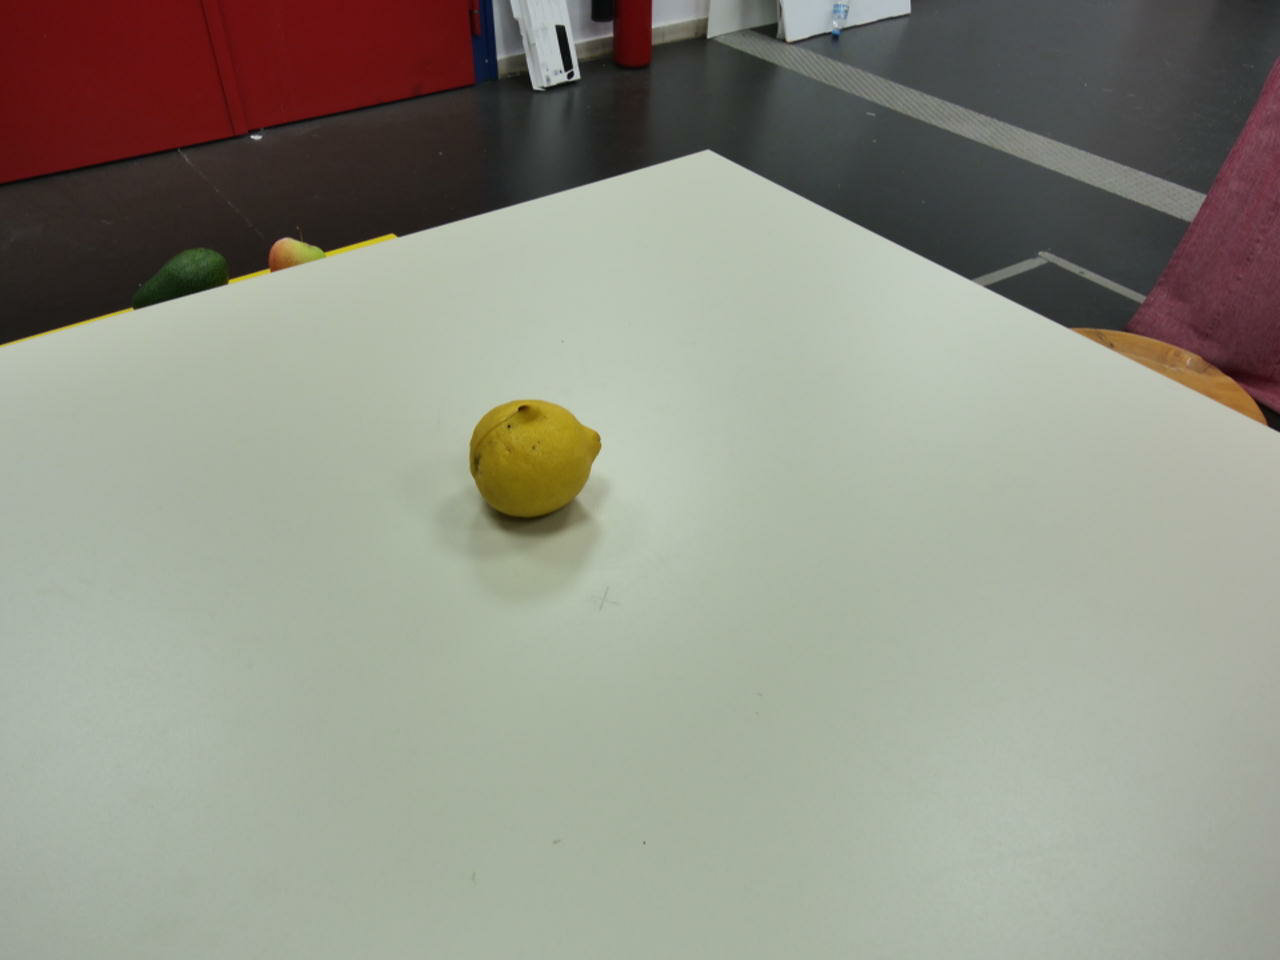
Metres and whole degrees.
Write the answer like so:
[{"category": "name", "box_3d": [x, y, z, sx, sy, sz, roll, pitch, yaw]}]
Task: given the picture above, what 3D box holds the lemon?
[{"category": "lemon", "box_3d": [-0.063, -0.015, 0.576, 0.071, 0.071, 0.070, 13, 40, 15]}]
